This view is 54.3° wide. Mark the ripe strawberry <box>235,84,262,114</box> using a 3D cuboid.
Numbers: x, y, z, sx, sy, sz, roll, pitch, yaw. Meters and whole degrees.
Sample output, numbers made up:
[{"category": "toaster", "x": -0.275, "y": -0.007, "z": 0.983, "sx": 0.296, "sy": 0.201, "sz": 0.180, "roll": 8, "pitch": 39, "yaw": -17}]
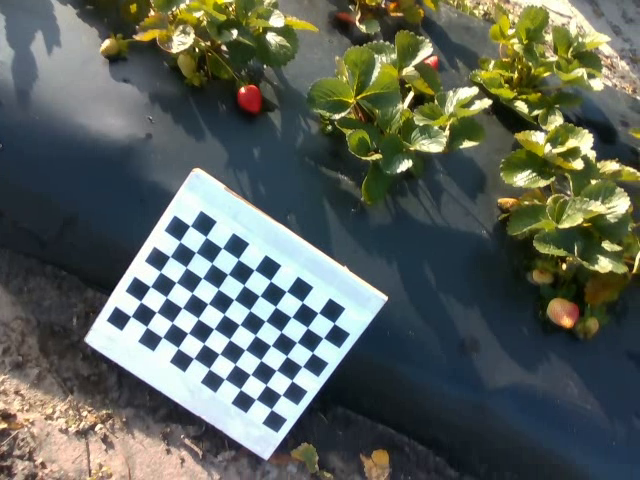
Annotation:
[{"category": "ripe strawberry", "x": -0.081, "y": -0.167, "z": 0.740, "sx": 0.030, "sy": 0.045, "sz": 0.033, "roll": -25, "pitch": -26, "yaw": 12}]
